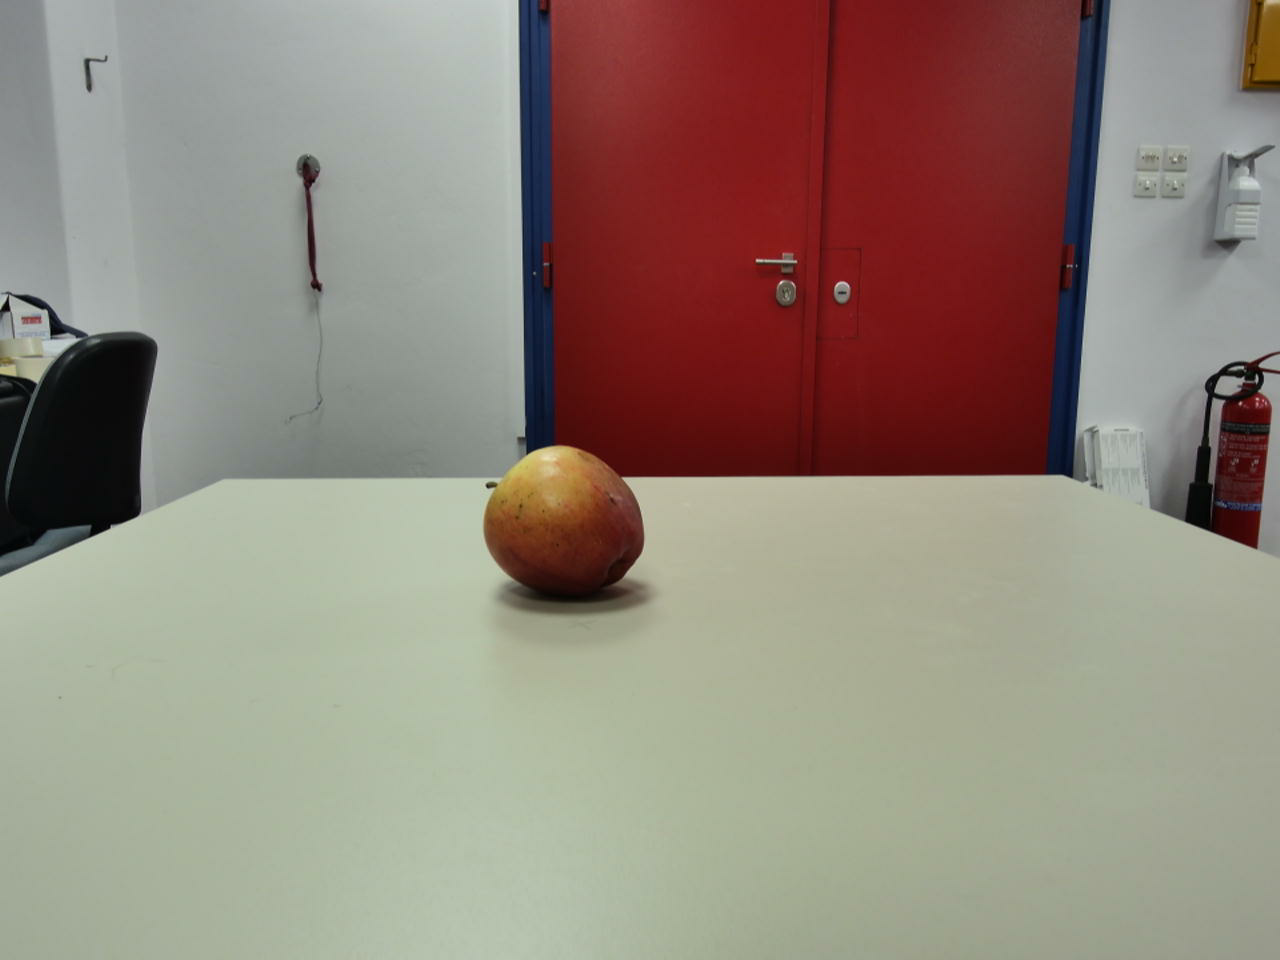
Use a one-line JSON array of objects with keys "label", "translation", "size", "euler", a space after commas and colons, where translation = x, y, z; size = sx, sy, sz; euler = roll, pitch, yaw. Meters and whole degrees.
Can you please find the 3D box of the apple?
[{"label": "apple", "translation": [-0.045, 0.024, 0.579], "size": [0.086, 0.084, 0.093], "euler": [-6, 9, -36]}]
